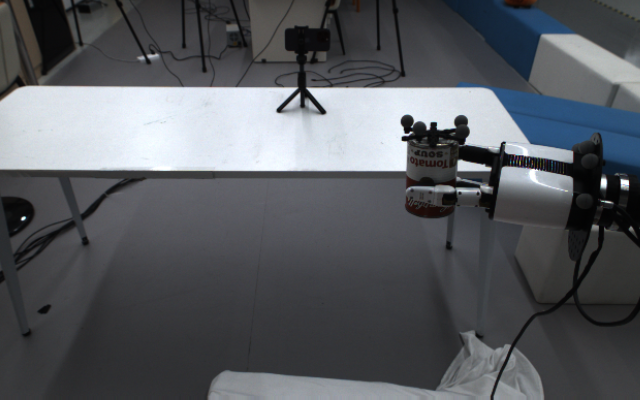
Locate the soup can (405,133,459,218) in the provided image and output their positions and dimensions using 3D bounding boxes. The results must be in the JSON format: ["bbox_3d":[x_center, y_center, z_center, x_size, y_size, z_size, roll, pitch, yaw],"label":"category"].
[{"bbox_3d":[0.151,-0.037,0.650,0.067,0.101,0.067,-3,27,2],"label":"soup can"}]
